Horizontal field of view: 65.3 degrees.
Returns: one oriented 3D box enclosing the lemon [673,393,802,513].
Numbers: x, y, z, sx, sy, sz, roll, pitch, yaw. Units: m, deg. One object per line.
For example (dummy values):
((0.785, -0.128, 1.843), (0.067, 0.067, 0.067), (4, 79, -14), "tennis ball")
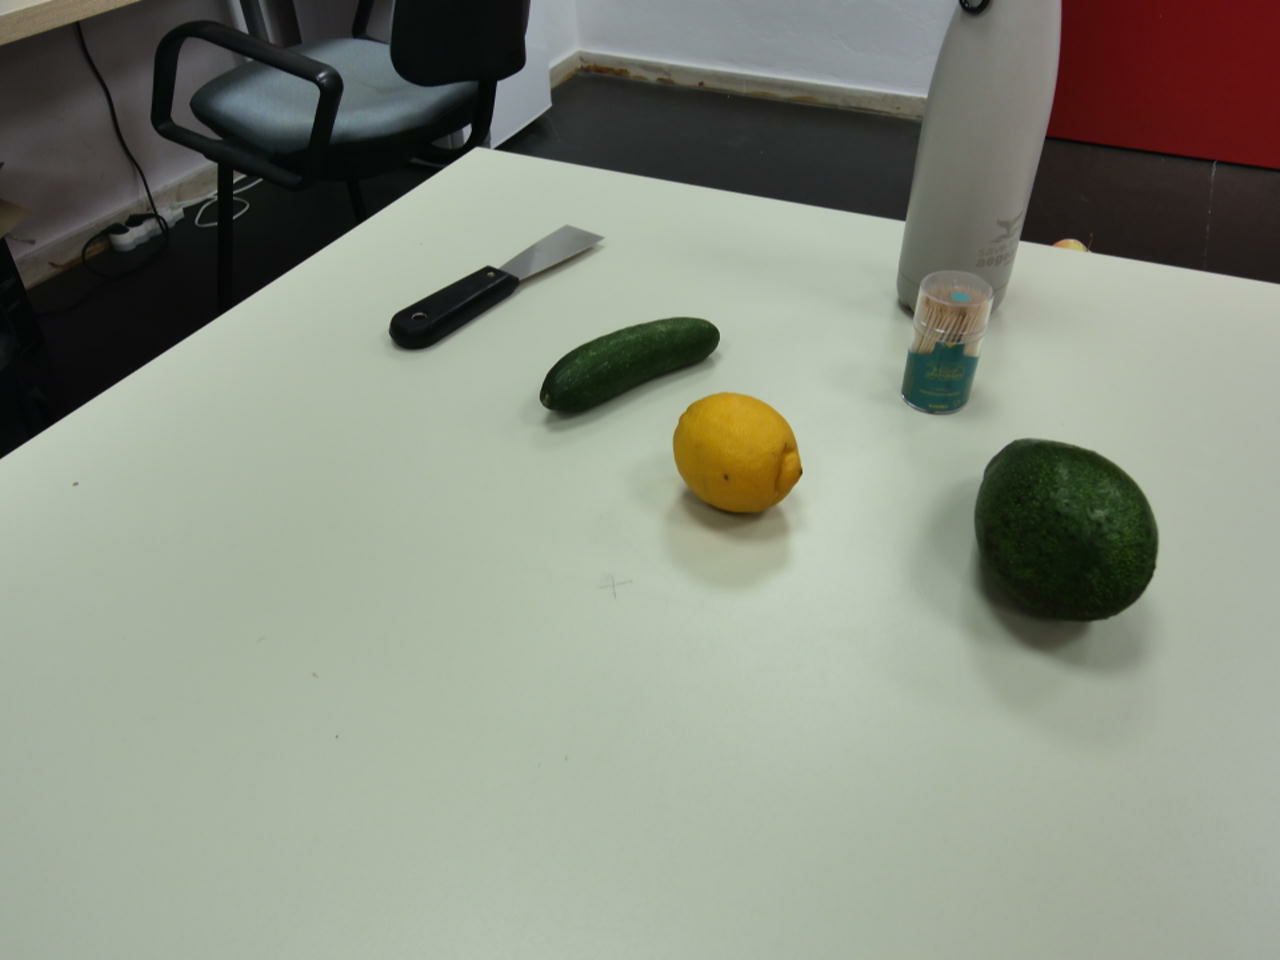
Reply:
((0.050, -0.013, 0.520), (0.061, 0.059, 0.067), (-14, 40, -17), "lemon")
